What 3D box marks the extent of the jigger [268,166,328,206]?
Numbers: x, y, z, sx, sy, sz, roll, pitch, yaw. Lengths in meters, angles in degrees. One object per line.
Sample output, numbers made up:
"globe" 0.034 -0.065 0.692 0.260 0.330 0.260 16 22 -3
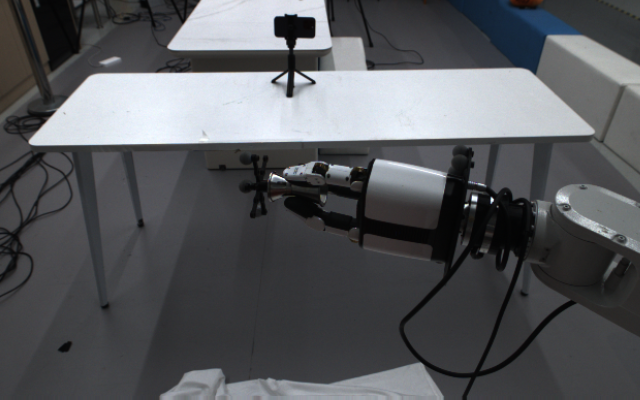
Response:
"jigger" -0.020 -0.018 0.607 0.071 0.043 0.043 3 34 13
